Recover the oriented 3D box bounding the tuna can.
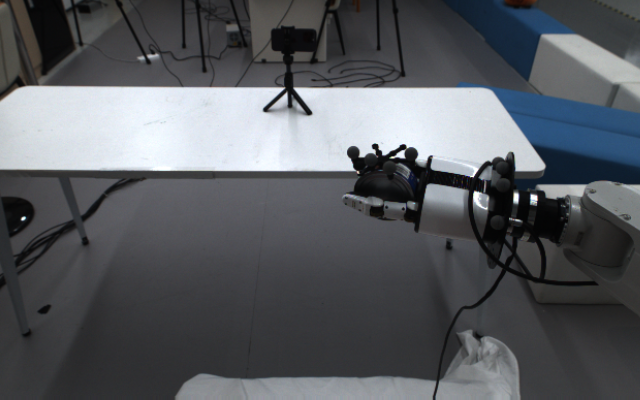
[{"bbox_3d":[0.094,-0.016,0.677,0.085,0.085,0.034,14,41,16],"label":"tuna can"}]
